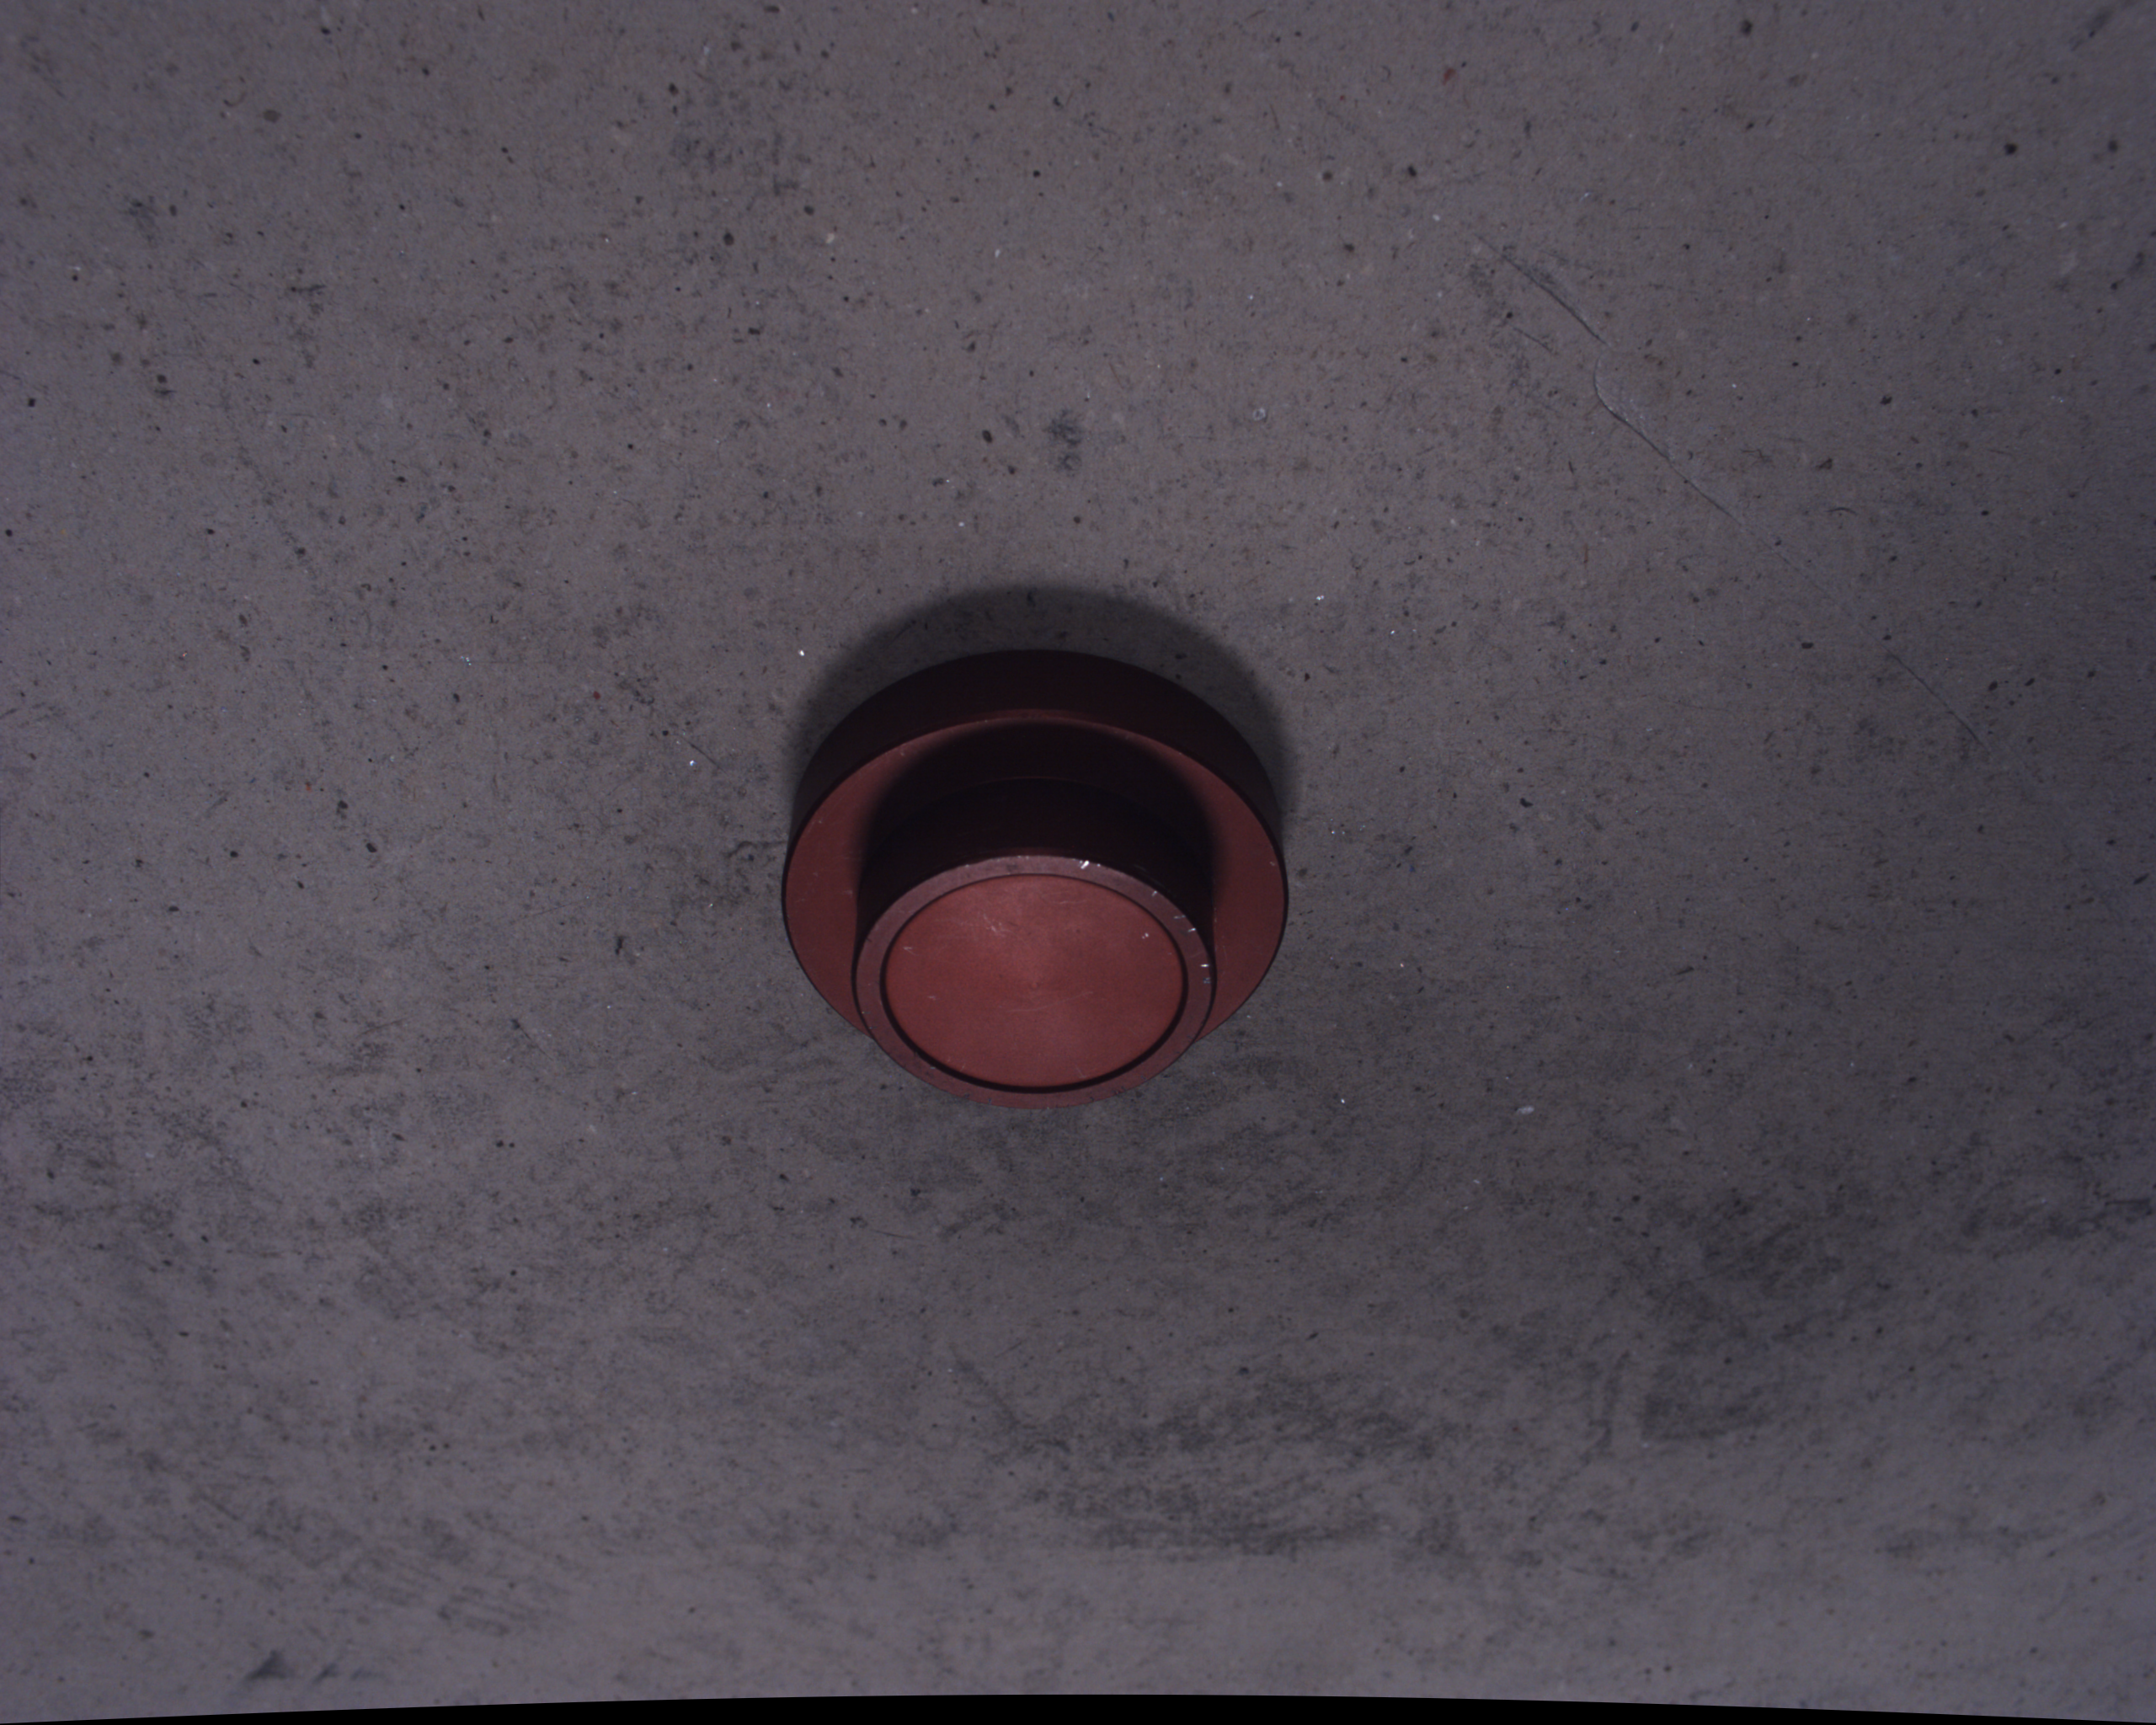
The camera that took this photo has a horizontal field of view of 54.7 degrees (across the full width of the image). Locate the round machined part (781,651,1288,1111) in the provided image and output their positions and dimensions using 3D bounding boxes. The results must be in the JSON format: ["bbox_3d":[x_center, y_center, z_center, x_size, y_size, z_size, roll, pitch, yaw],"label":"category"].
[{"bbox_3d":[-0.008,0.010,0.406,0.099,0.042,0.097,-1,130,0],"label":"round machined part"}]
